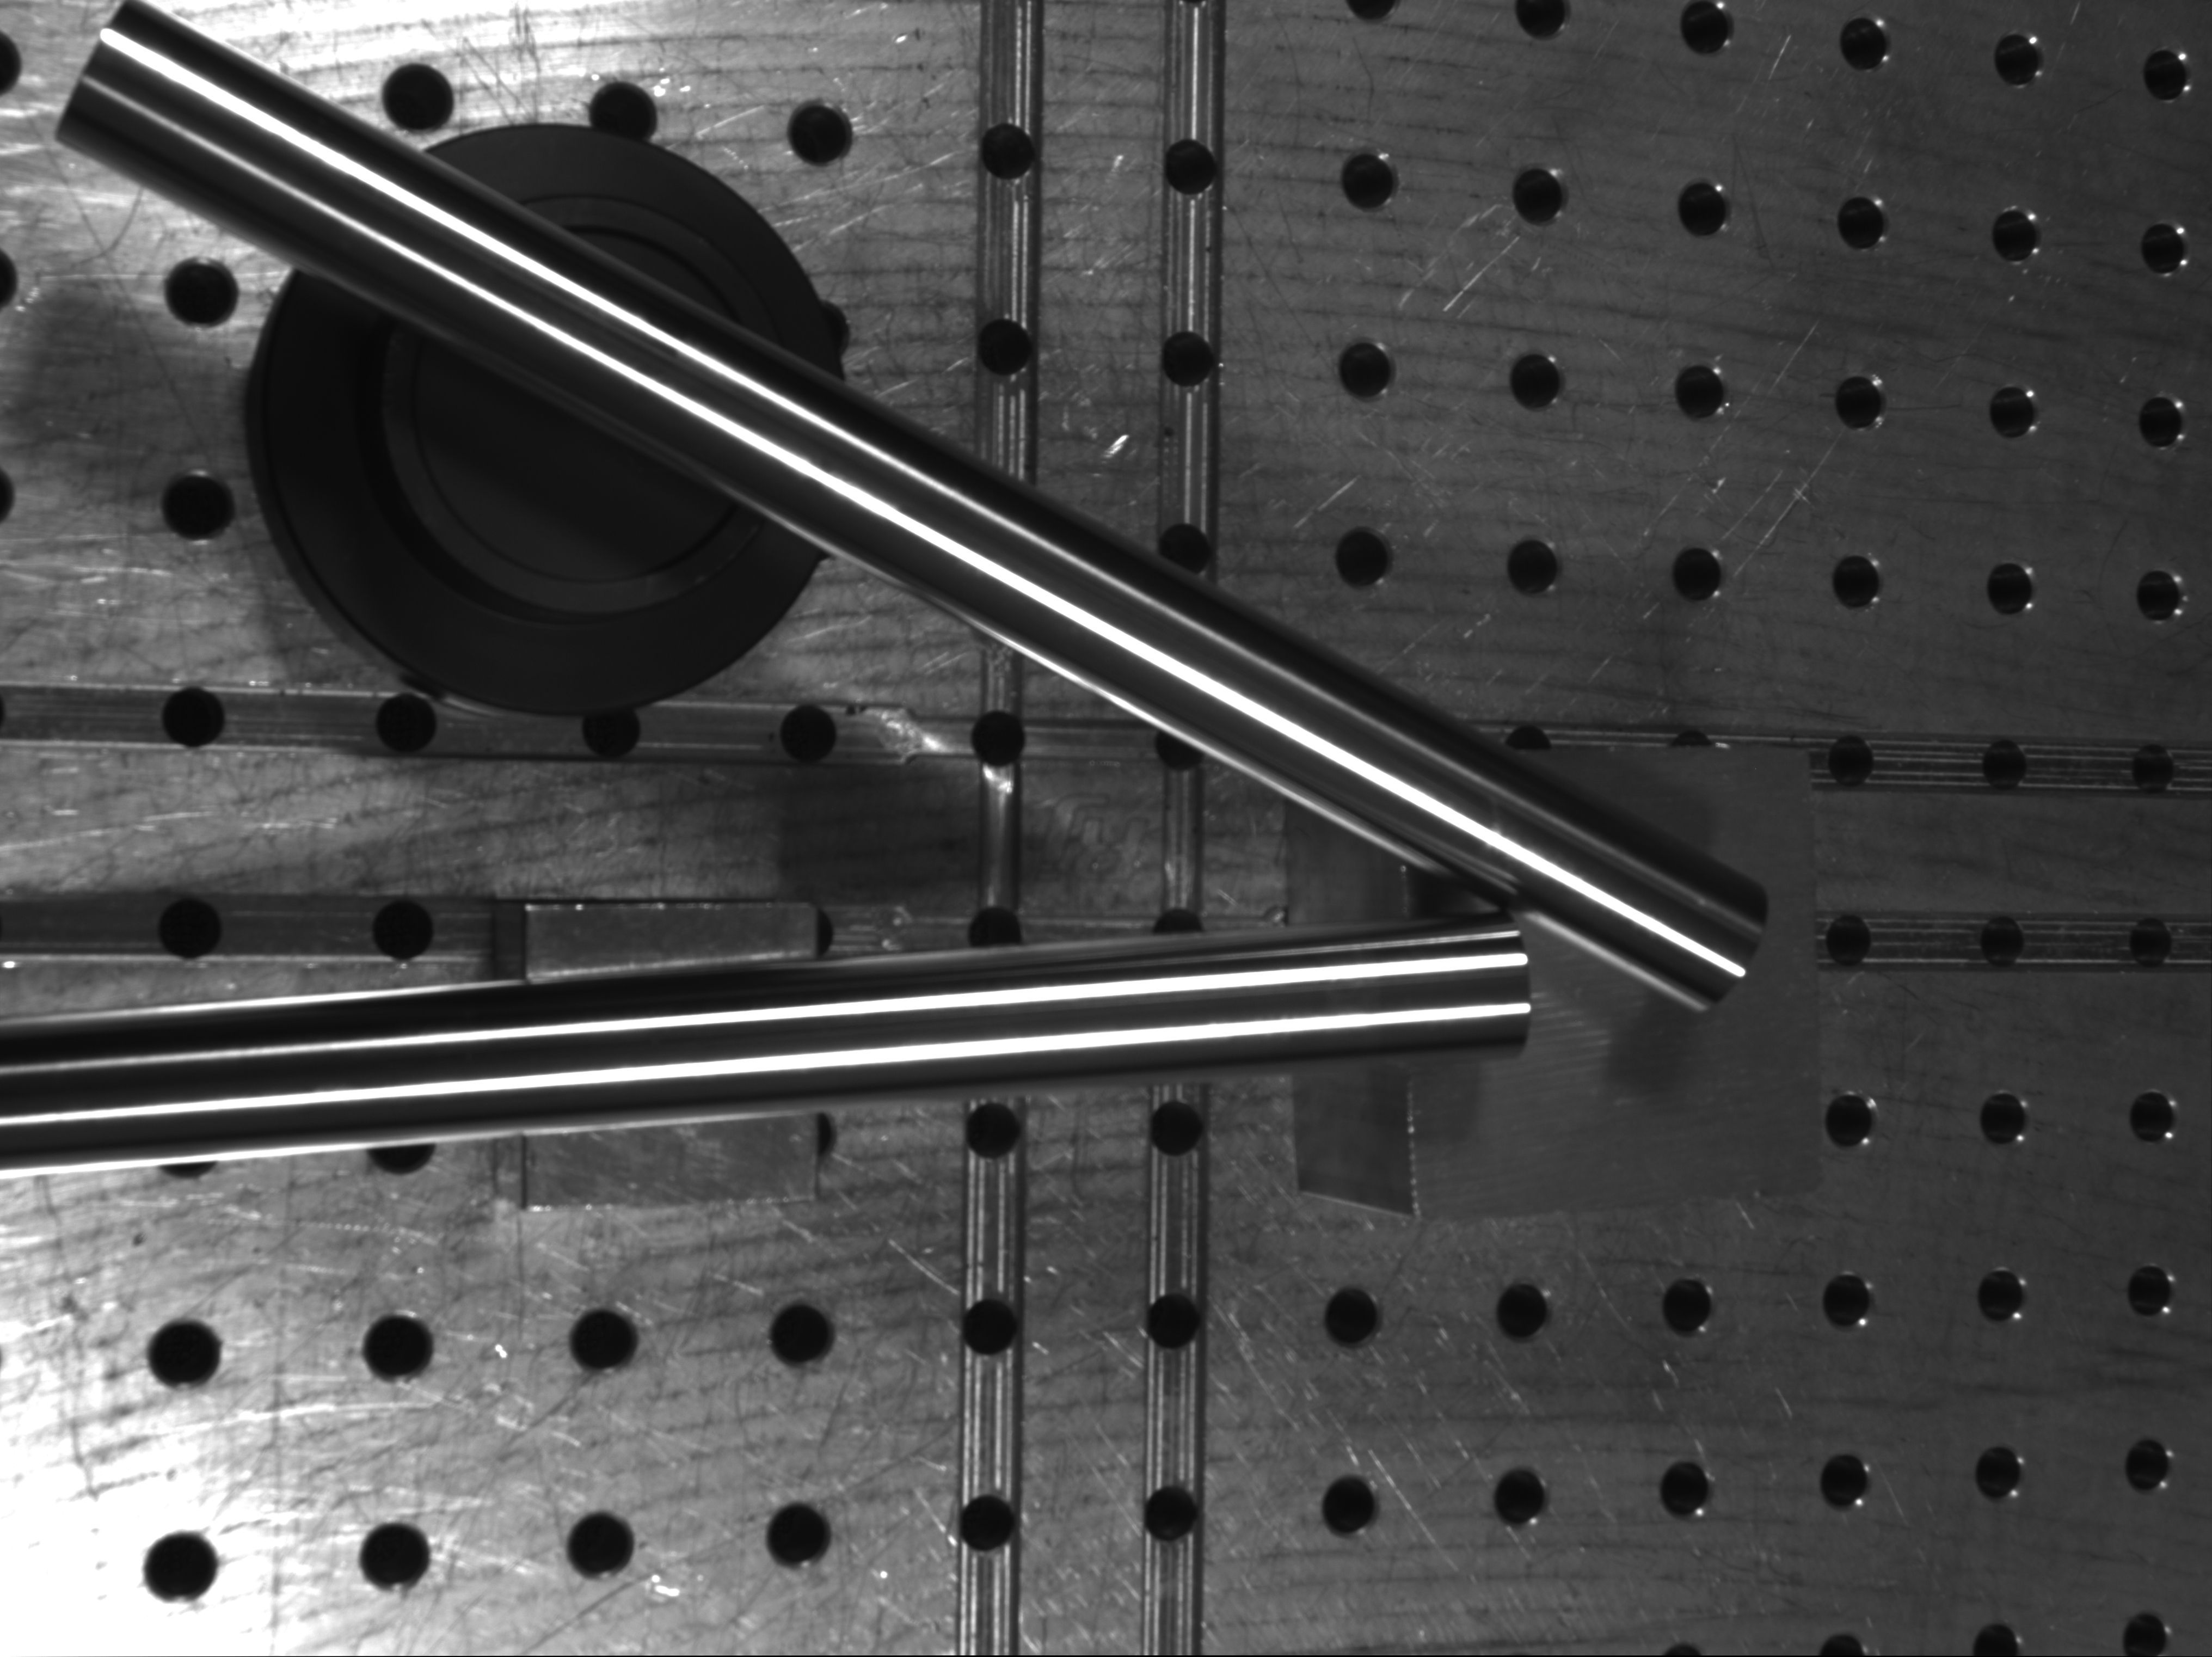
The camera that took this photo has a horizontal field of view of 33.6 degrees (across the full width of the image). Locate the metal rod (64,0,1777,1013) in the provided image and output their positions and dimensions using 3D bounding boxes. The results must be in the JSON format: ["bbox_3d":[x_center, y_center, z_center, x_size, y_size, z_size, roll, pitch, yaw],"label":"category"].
[{"bbox_3d":[-0.022,-0.047,0.587,0.300,0.025,0.025,28,81,-15],"label":"metal rod"}]

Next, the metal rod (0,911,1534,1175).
[{"bbox_3d":[-0.080,0.036,0.588,0.300,0.025,0.025,-4,91,-9],"label":"metal rod"}]

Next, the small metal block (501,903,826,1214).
[{"bbox_3d":[-0.075,0.038,0.619,0.050,0.025,0.050,0,90,-20],"label":"small metal block"}]

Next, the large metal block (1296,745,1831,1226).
[{"bbox_3d":[0.081,0.026,0.659,0.080,0.050,0.080,-2,91,-20],"label":"large metal block"}]

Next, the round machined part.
[{"bbox_3d":[-0.088,-0.067,0.605,0.098,0.042,0.098,0,90,-20],"label":"round machined part"}]
